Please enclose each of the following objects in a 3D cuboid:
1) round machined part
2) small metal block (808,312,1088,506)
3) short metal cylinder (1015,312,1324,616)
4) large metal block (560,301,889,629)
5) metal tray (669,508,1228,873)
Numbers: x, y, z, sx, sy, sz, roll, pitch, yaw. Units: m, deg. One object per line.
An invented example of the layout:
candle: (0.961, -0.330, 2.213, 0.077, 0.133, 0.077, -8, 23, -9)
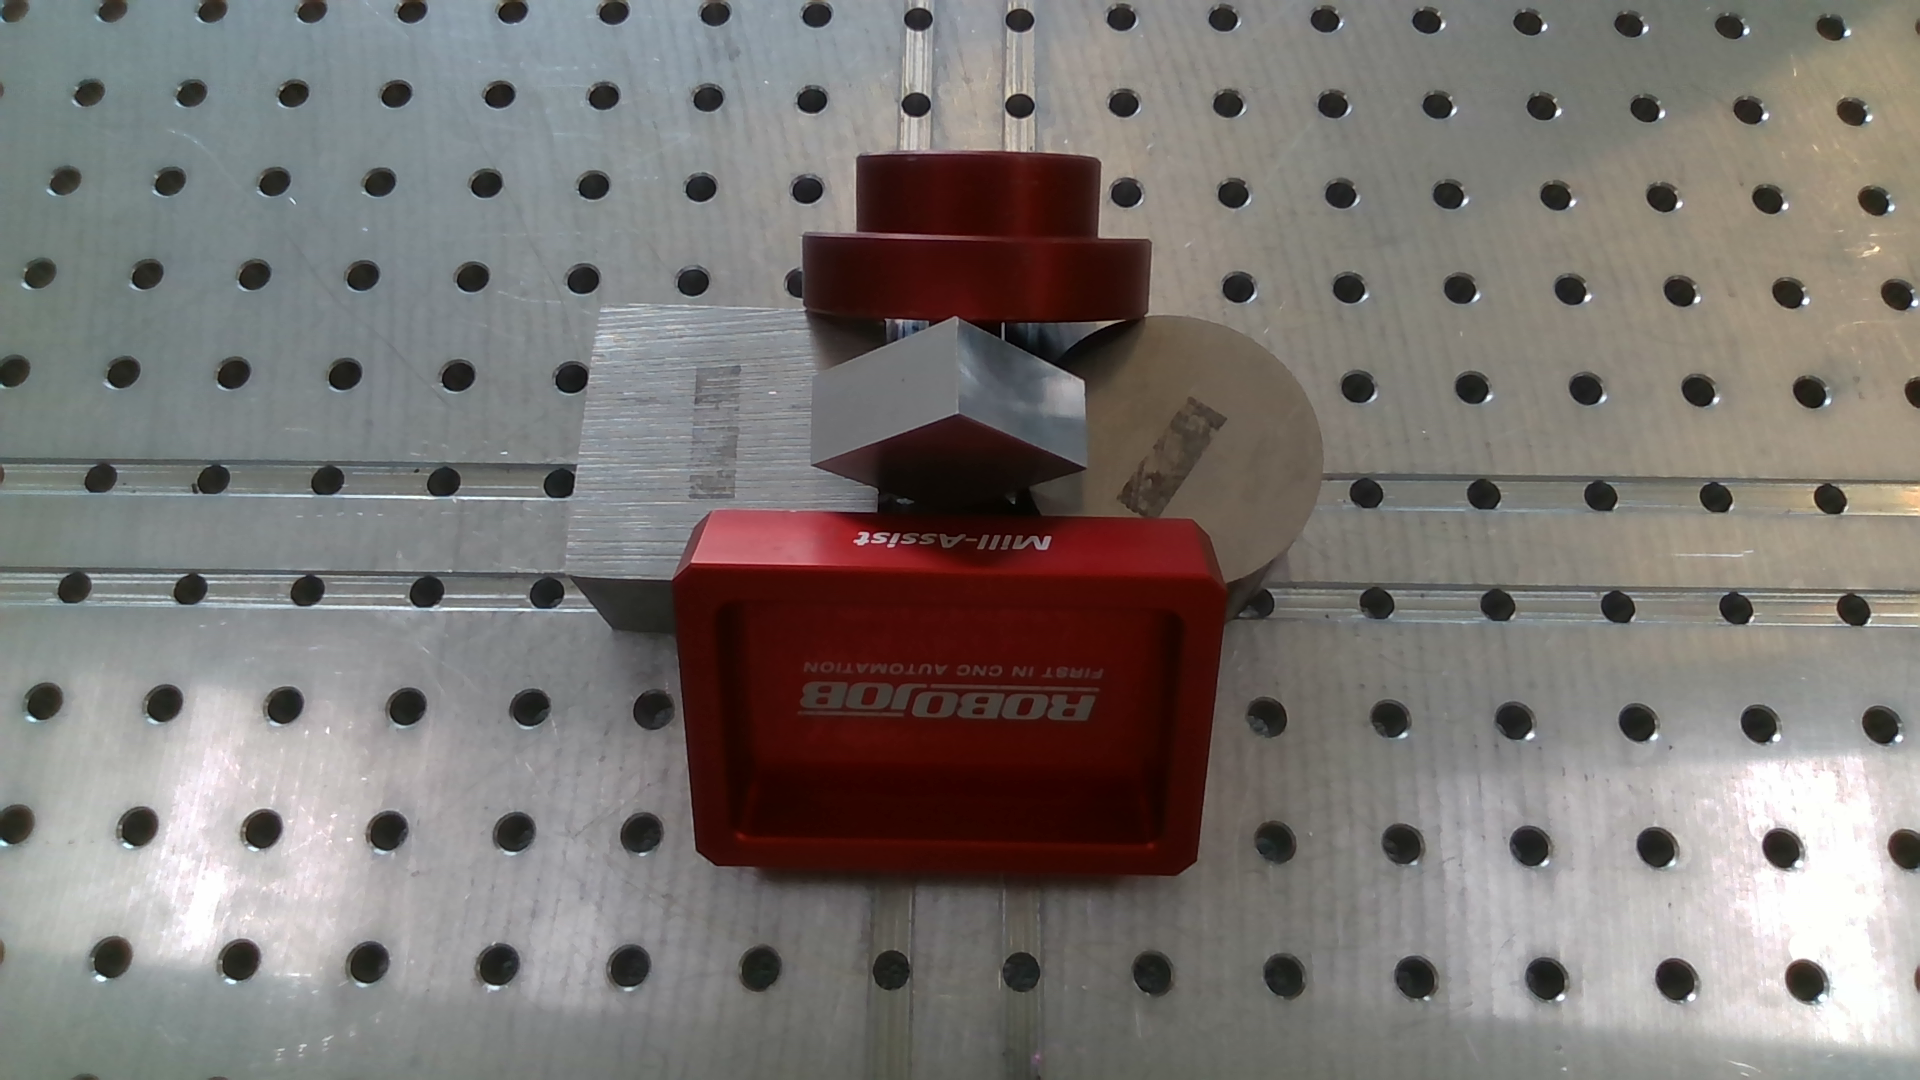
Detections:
round machined part: (0.004, -0.087, 0.386, 0.098, 0.098, 0.042, 1, 103, 1)
small metal block: (-0.003, -0.031, 0.351, 0.050, 0.050, 0.025, -15, 68, 40)
short metal cylinder: (0.057, -0.017, 0.390, 0.080, 0.050, 0.080, 0, 70, 0)
large metal block: (-0.062, -0.019, 0.391, 0.080, 0.050, 0.080, 2, 70, 1)
metal tray: (-0.003, 0.039, 0.351, 0.130, 0.090, 0.030, 1, 27, 0)
